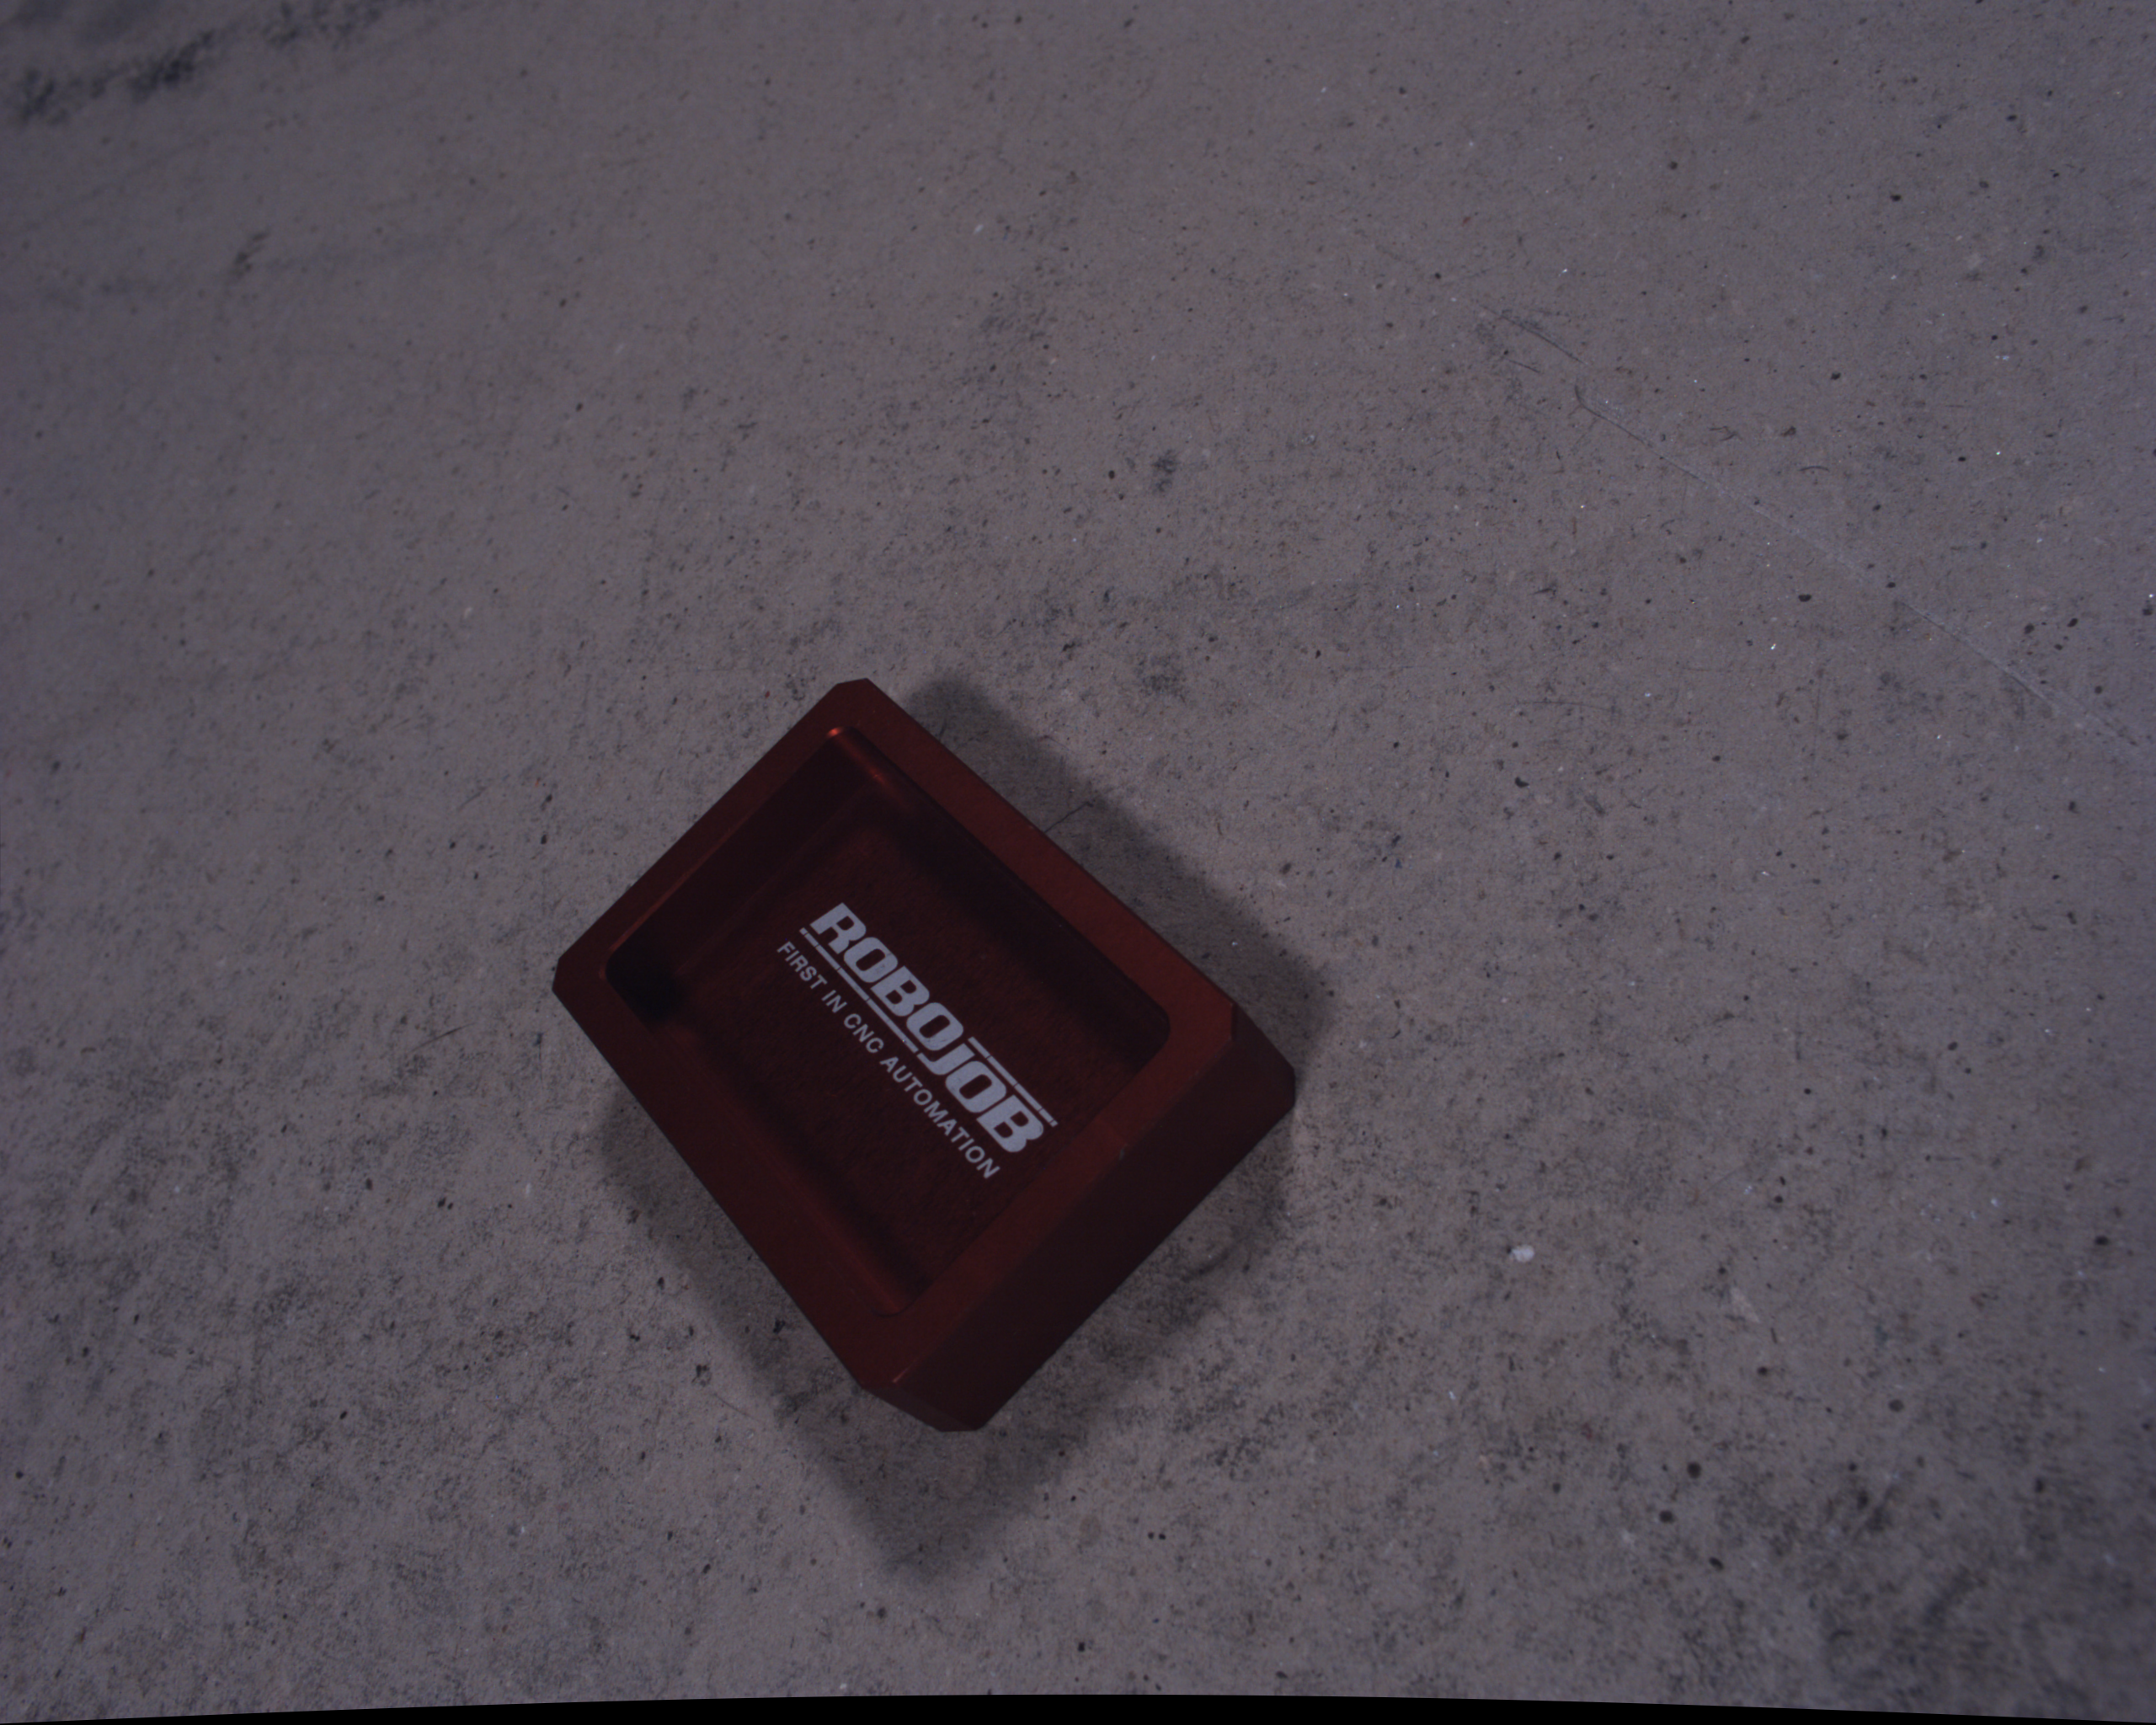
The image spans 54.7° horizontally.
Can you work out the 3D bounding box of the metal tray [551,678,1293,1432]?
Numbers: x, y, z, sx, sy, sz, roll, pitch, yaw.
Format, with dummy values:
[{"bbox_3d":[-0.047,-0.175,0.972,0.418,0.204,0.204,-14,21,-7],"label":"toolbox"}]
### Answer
[{"bbox_3d":[-0.034,0.031,0.399,0.090,0.030,0.130,-45,51,-4],"label":"metal tray"}]
